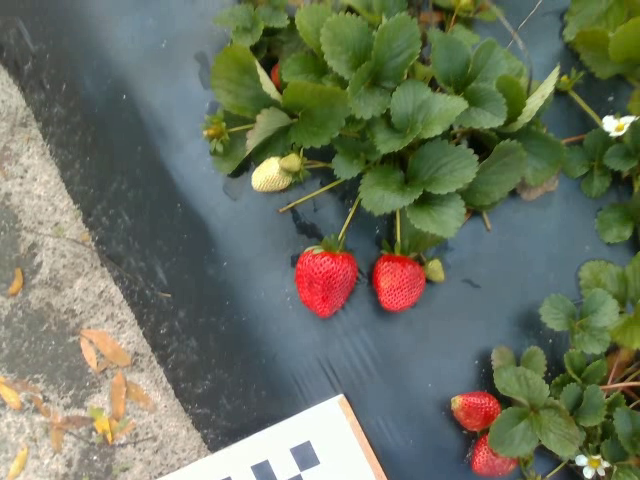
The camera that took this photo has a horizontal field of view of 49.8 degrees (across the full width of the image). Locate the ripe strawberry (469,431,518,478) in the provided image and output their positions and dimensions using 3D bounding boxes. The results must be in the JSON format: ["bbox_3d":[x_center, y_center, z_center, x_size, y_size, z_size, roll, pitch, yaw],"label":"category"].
[{"bbox_3d":[0.144,0.186,0.586,0.049,0.044,0.041,-24,-12,-39],"label":"ripe strawberry"}]

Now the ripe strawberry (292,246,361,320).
[{"bbox_3d":[0.003,0.040,0.619,0.058,0.065,0.043,2,-11,29],"label":"ripe strawberry"}]

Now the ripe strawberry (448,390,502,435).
[{"bbox_3d":[0.132,0.146,0.601,0.053,0.047,0.039,29,25,-15],"label":"ripe strawberry"}]

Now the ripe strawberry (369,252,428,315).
[{"bbox_3d":[0.069,0.041,0.618,0.050,0.060,0.051,-4,-46,29],"label":"ripe strawberry"}]
